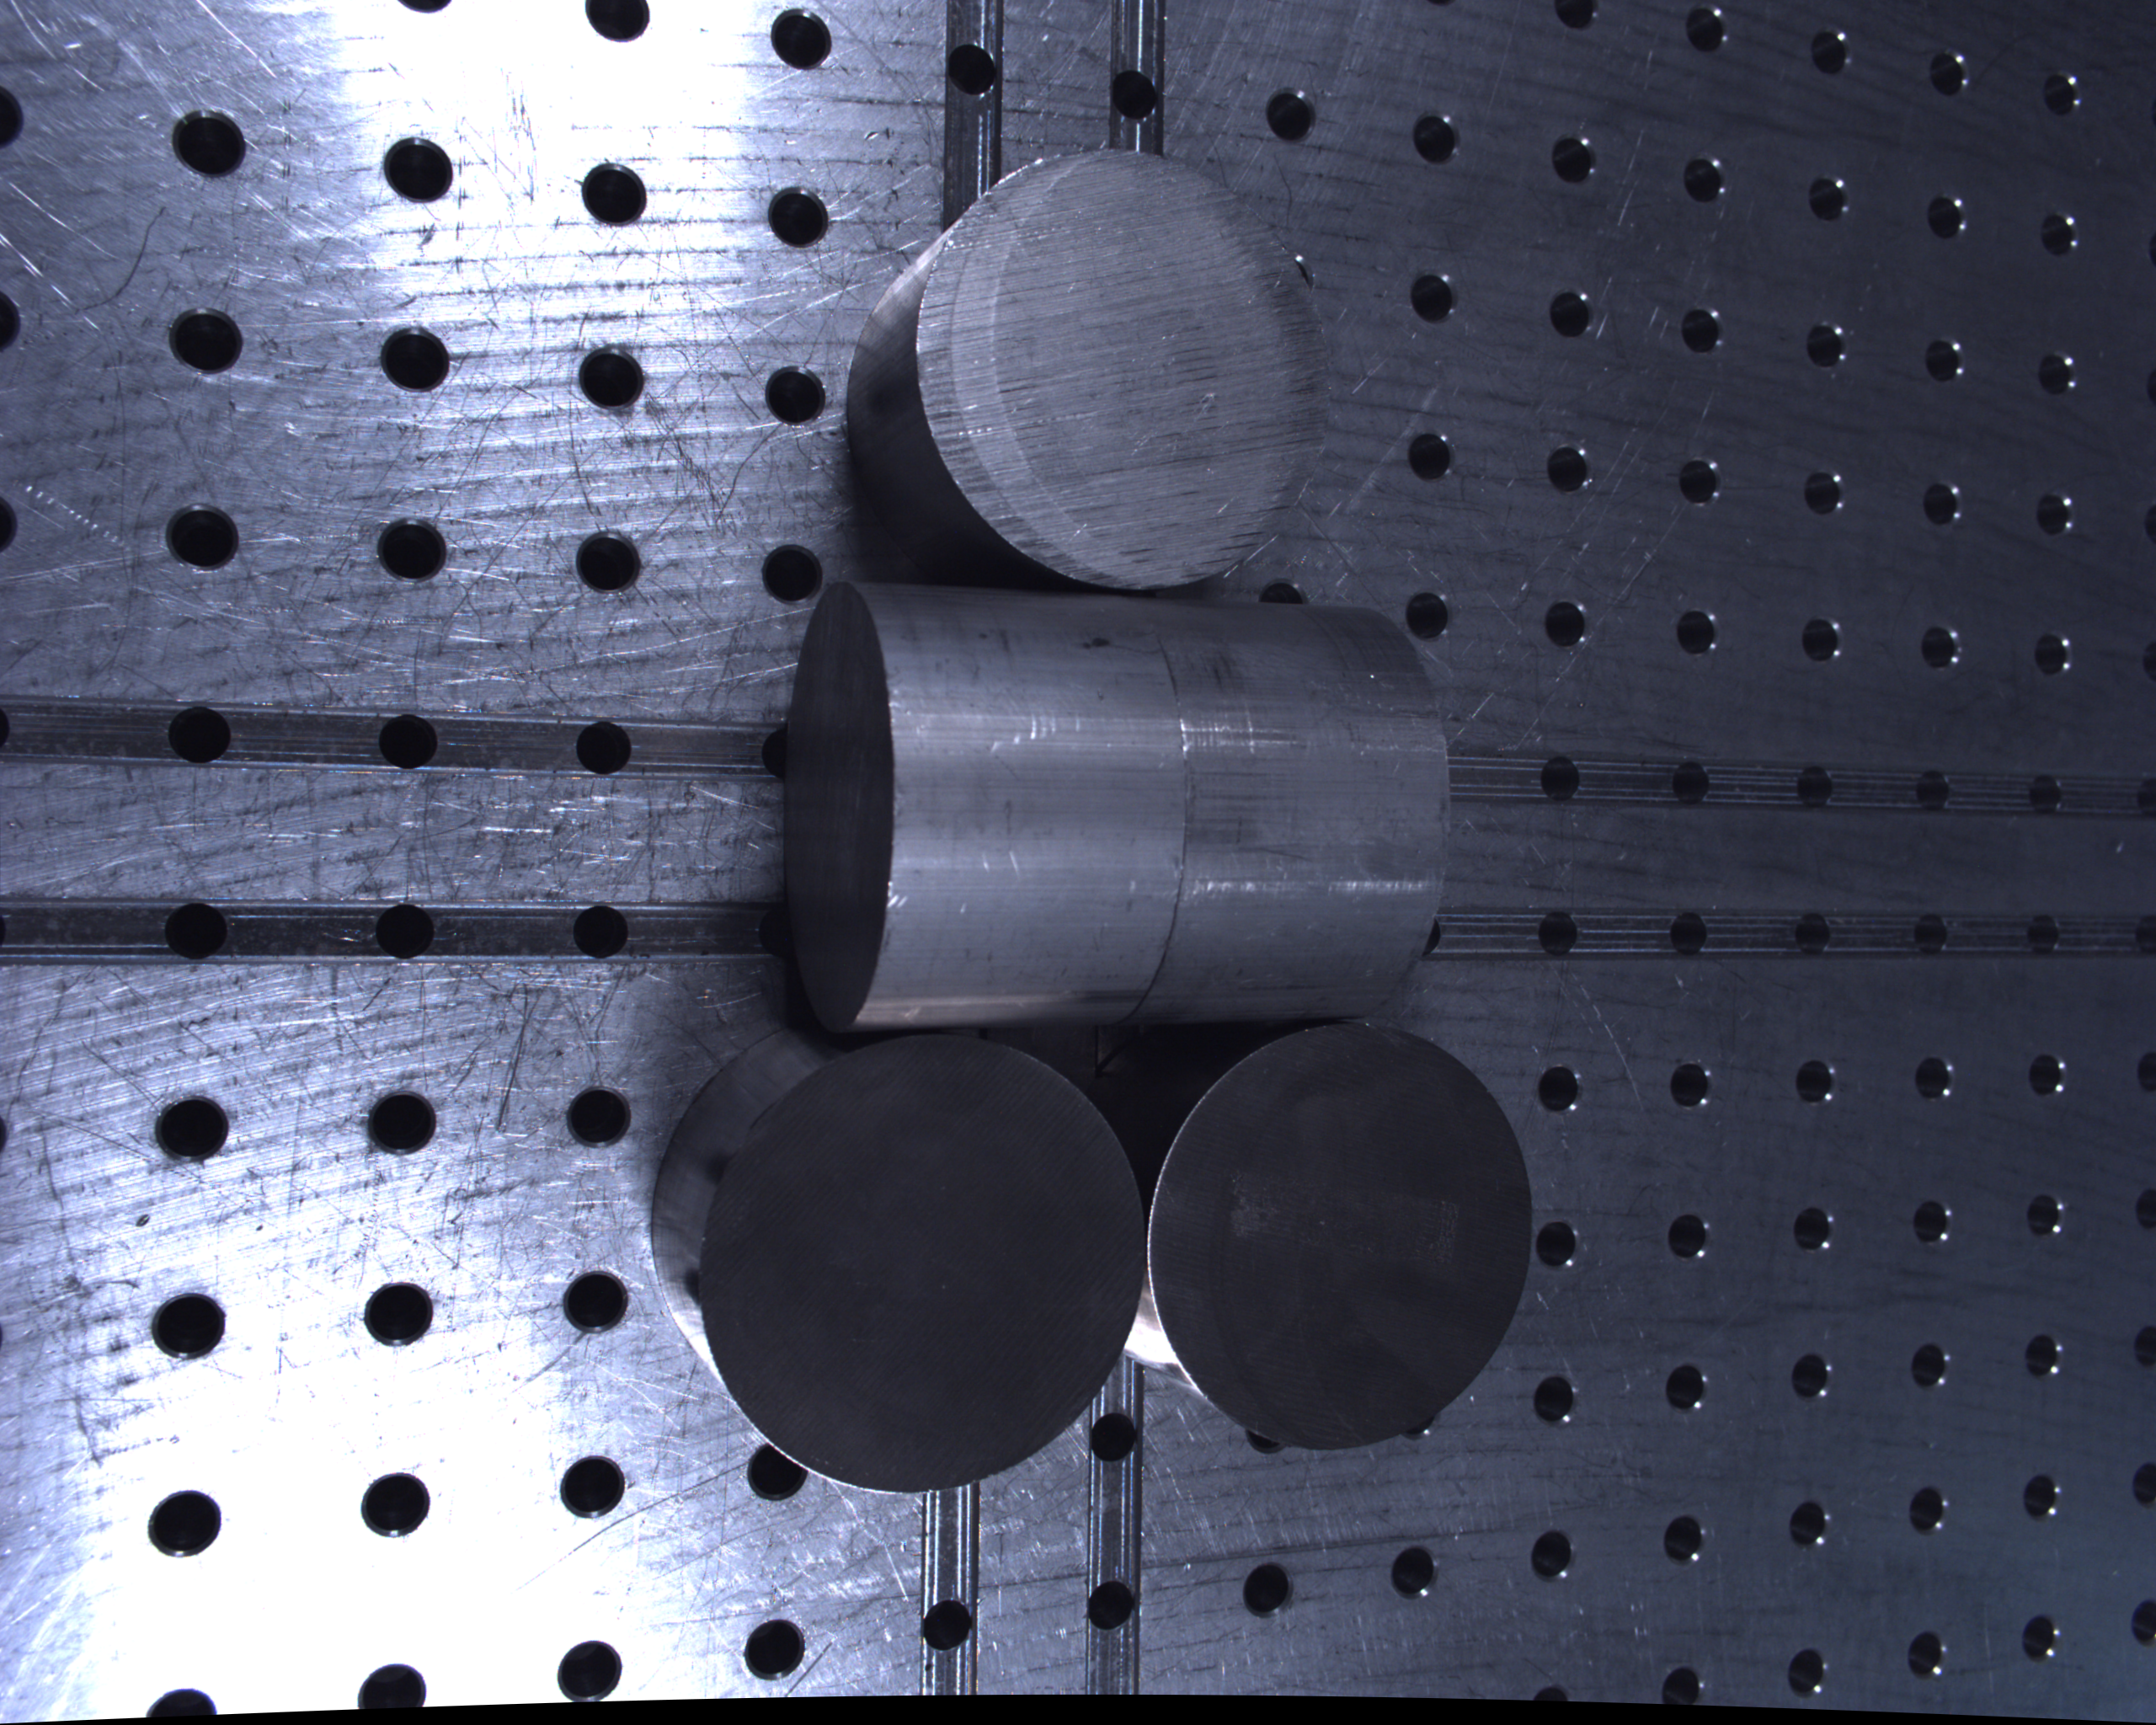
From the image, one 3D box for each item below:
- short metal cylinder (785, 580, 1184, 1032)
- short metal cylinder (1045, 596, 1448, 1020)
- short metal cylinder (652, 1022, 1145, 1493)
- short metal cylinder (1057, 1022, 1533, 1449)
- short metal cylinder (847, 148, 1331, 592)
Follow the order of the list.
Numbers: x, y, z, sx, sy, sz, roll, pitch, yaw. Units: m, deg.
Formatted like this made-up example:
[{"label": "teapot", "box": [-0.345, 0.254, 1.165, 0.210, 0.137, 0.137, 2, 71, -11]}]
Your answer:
[{"label": "short metal cylinder", "box": [-0.020, -0.010, 0.377, 0.050, 0.080, 0.079, 0, 90, -20]}, {"label": "short metal cylinder", "box": [0.027, -0.010, 0.395, 0.050, 0.080, 0.079, 0, 90, -20]}, {"label": "short metal cylinder", "box": [-0.034, 0.070, 0.387, 0.081, 0.050, 0.079, 0, 90, -21]}, {"label": "short metal cylinder", "box": [0.042, 0.070, 0.415, 0.081, 0.050, 0.079, 0, 90, -21]}, {"label": "short metal cylinder", "box": [0.001, -0.089, 0.400, 0.081, 0.050, 0.079, 0, 90, -21]}]
